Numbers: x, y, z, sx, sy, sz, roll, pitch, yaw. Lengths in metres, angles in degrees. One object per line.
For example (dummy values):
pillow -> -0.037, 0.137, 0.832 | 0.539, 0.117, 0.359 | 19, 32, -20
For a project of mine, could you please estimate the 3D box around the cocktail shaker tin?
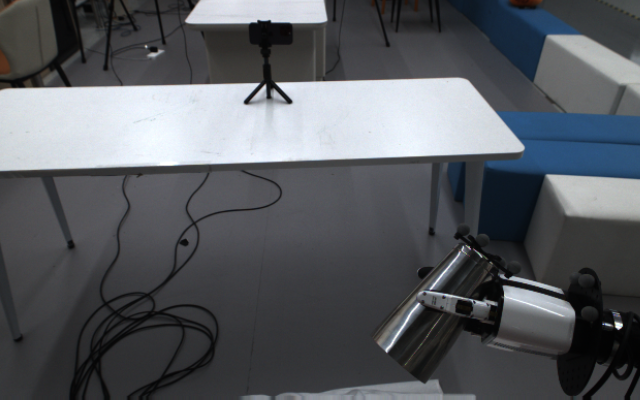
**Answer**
cocktail shaker tin -> 0.157, 0.137, 0.637 | 0.170, 0.093, 0.093 | -48, 49, -3
